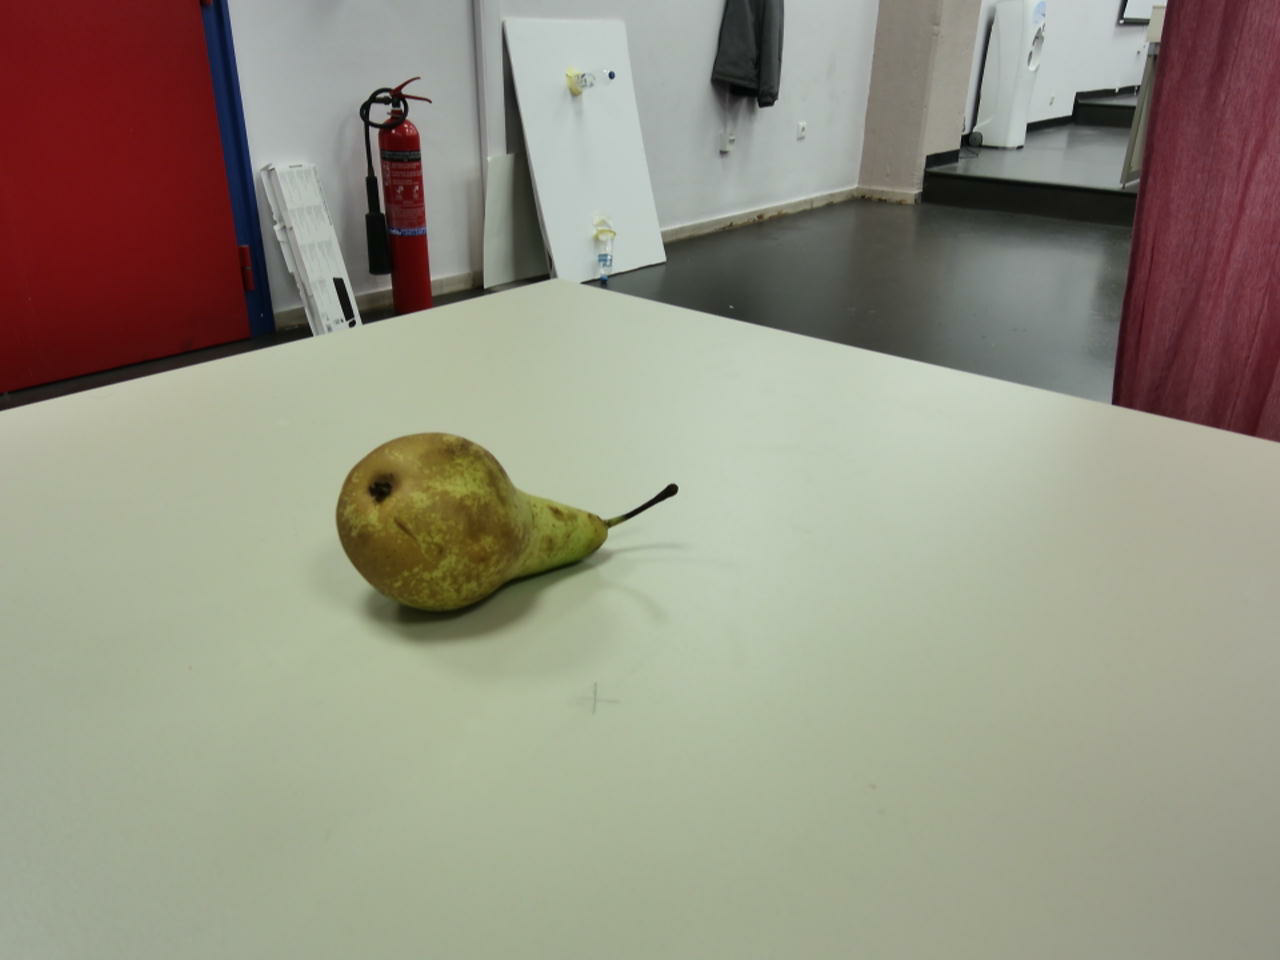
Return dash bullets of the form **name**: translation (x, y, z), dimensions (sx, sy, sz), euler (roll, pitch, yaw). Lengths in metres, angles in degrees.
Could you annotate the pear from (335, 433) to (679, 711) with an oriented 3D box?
- **pear**: translation (-0.058, 0.007, 0.426), dimensions (0.144, 0.075, 0.072), euler (-21, 30, -40)
